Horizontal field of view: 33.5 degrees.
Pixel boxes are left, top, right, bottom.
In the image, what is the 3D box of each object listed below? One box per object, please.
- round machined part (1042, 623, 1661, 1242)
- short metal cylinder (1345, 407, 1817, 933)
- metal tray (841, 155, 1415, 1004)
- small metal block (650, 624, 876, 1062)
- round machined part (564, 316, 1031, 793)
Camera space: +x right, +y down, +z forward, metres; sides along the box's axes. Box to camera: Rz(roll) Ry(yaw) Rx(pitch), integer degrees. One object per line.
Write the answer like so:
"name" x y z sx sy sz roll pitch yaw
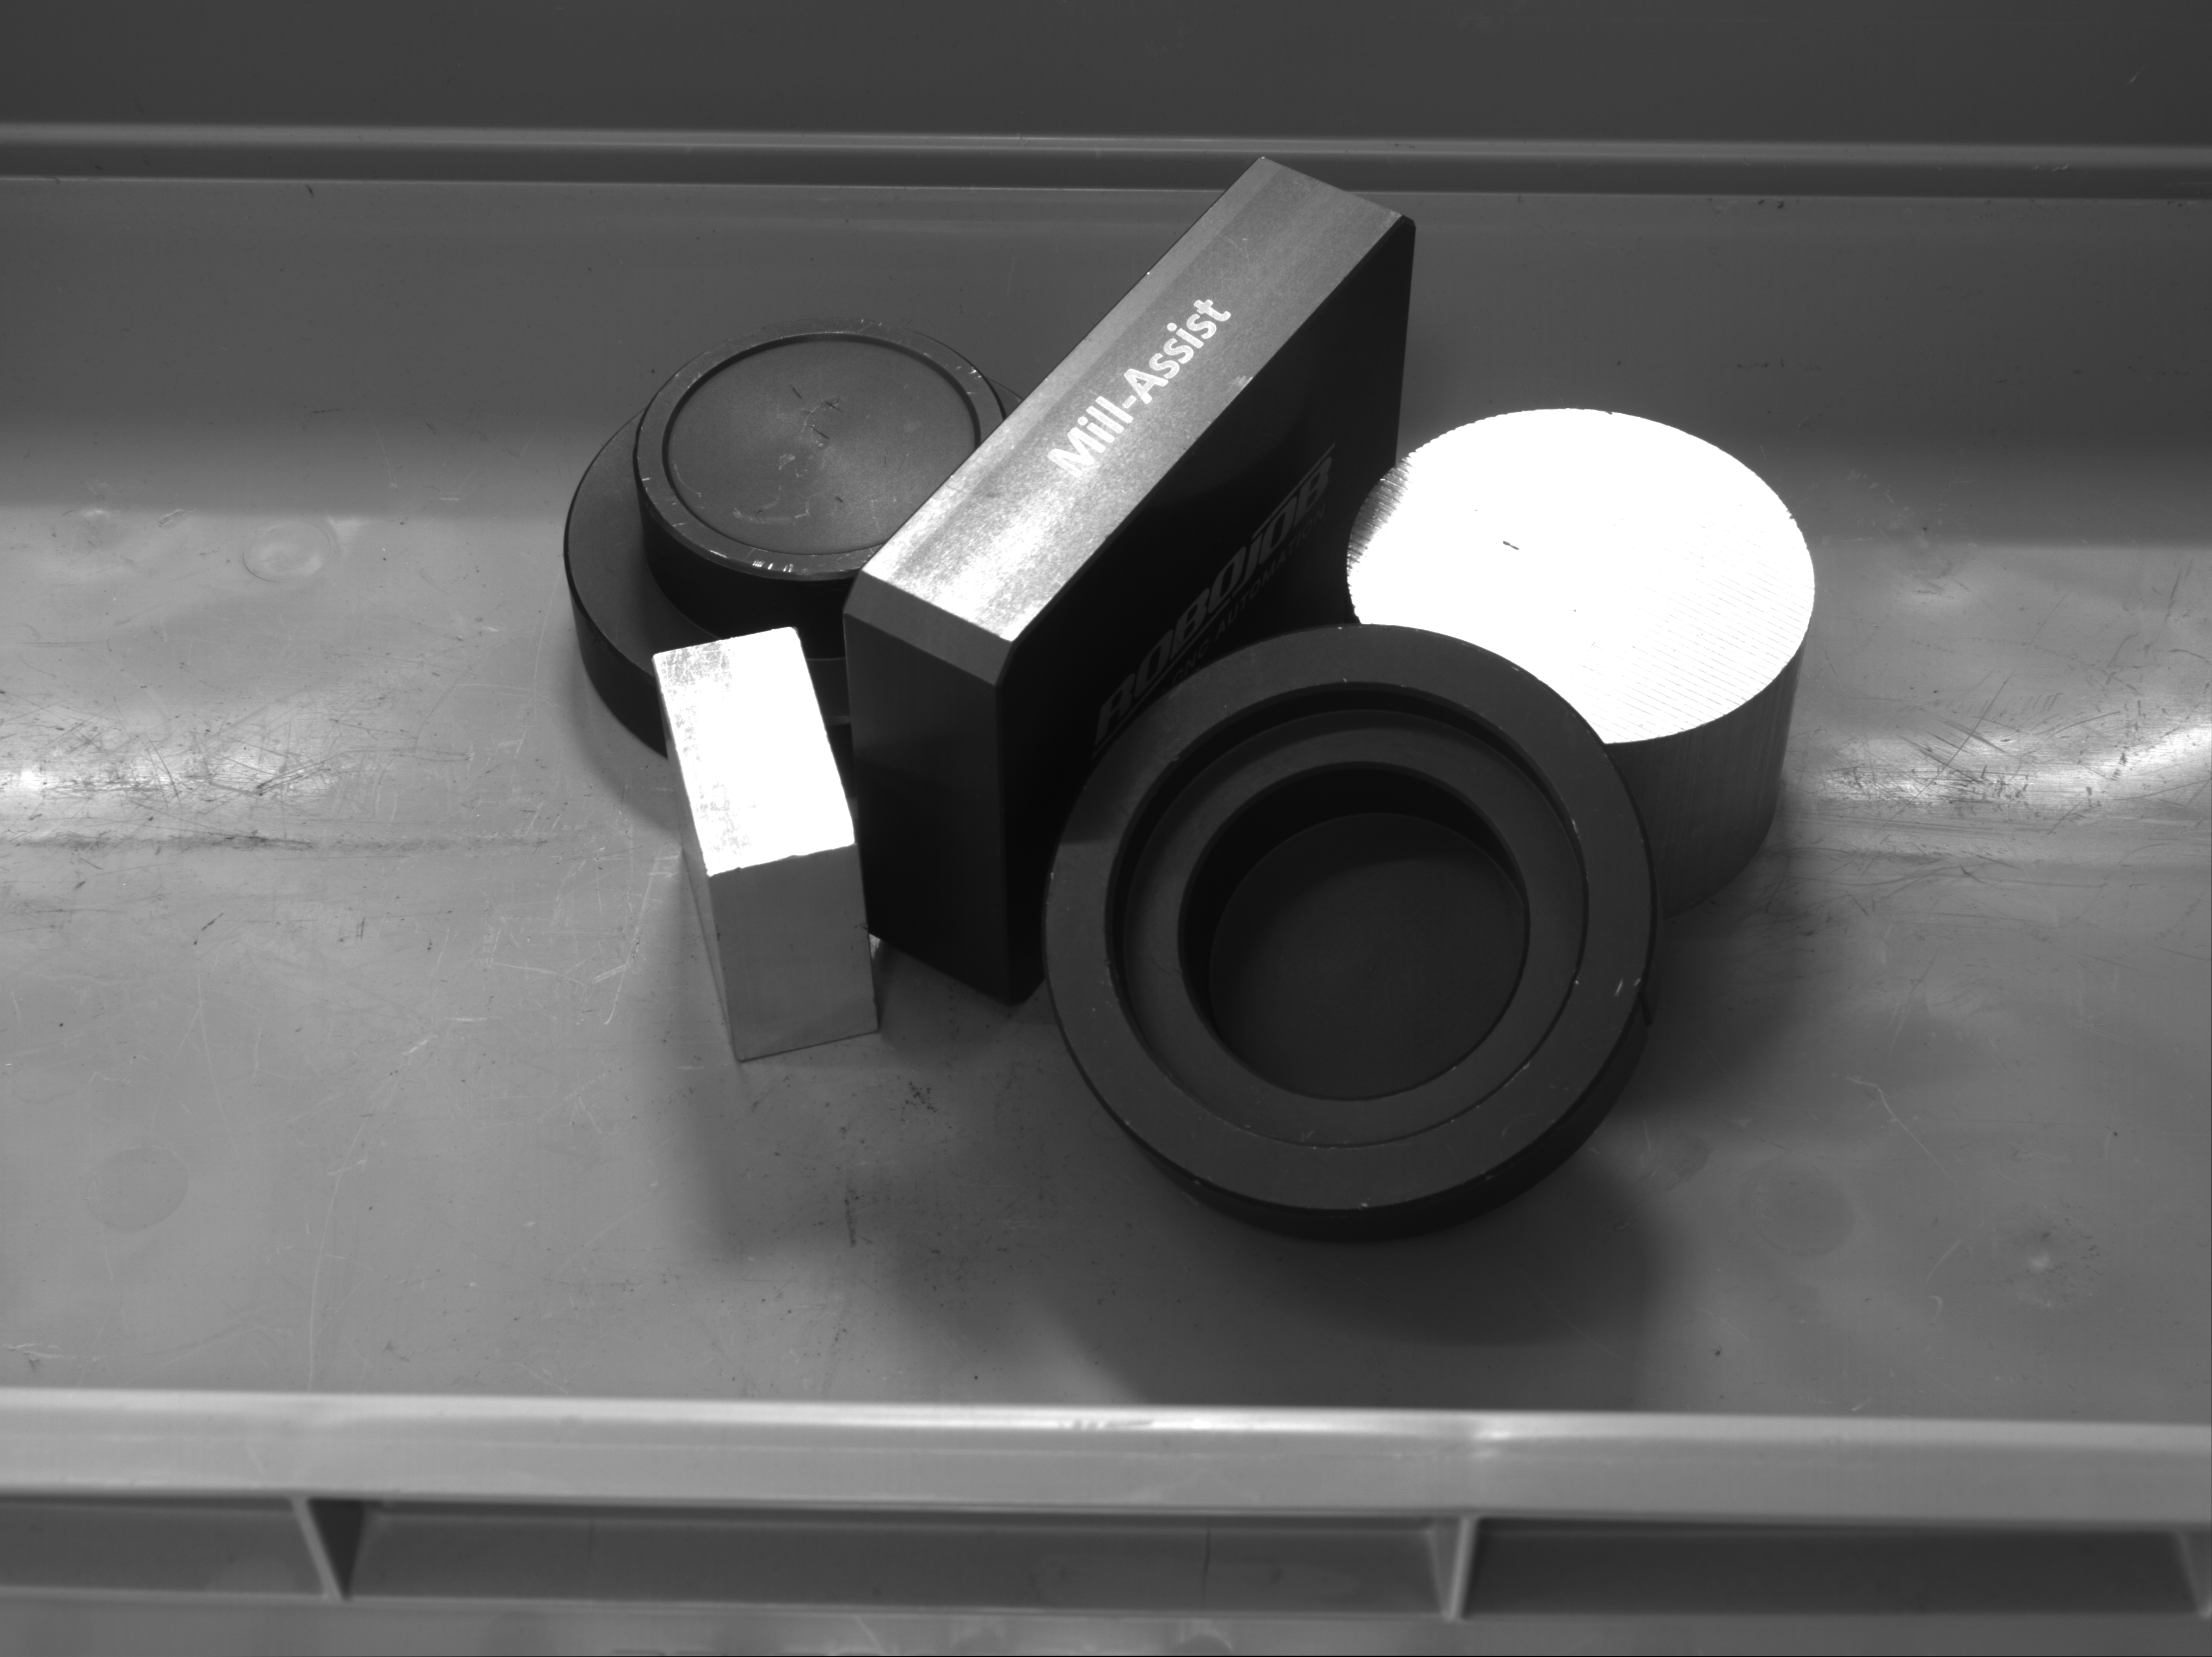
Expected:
"round machined part" 0.042 0.019 0.598 0.098 0.042 0.098 -3 71 10
"short metal cylinder" 0.082 -0.028 0.648 0.080 0.050 0.080 0 50 0
"metal tray" 0.006 -0.044 0.635 0.030 0.090 0.130 26 55 21
"small metal block" -0.058 0.003 0.622 0.025 0.050 0.050 -12 51 -9
"round machined part" -0.051 -0.056 0.676 0.098 0.042 0.098 0 50 0
